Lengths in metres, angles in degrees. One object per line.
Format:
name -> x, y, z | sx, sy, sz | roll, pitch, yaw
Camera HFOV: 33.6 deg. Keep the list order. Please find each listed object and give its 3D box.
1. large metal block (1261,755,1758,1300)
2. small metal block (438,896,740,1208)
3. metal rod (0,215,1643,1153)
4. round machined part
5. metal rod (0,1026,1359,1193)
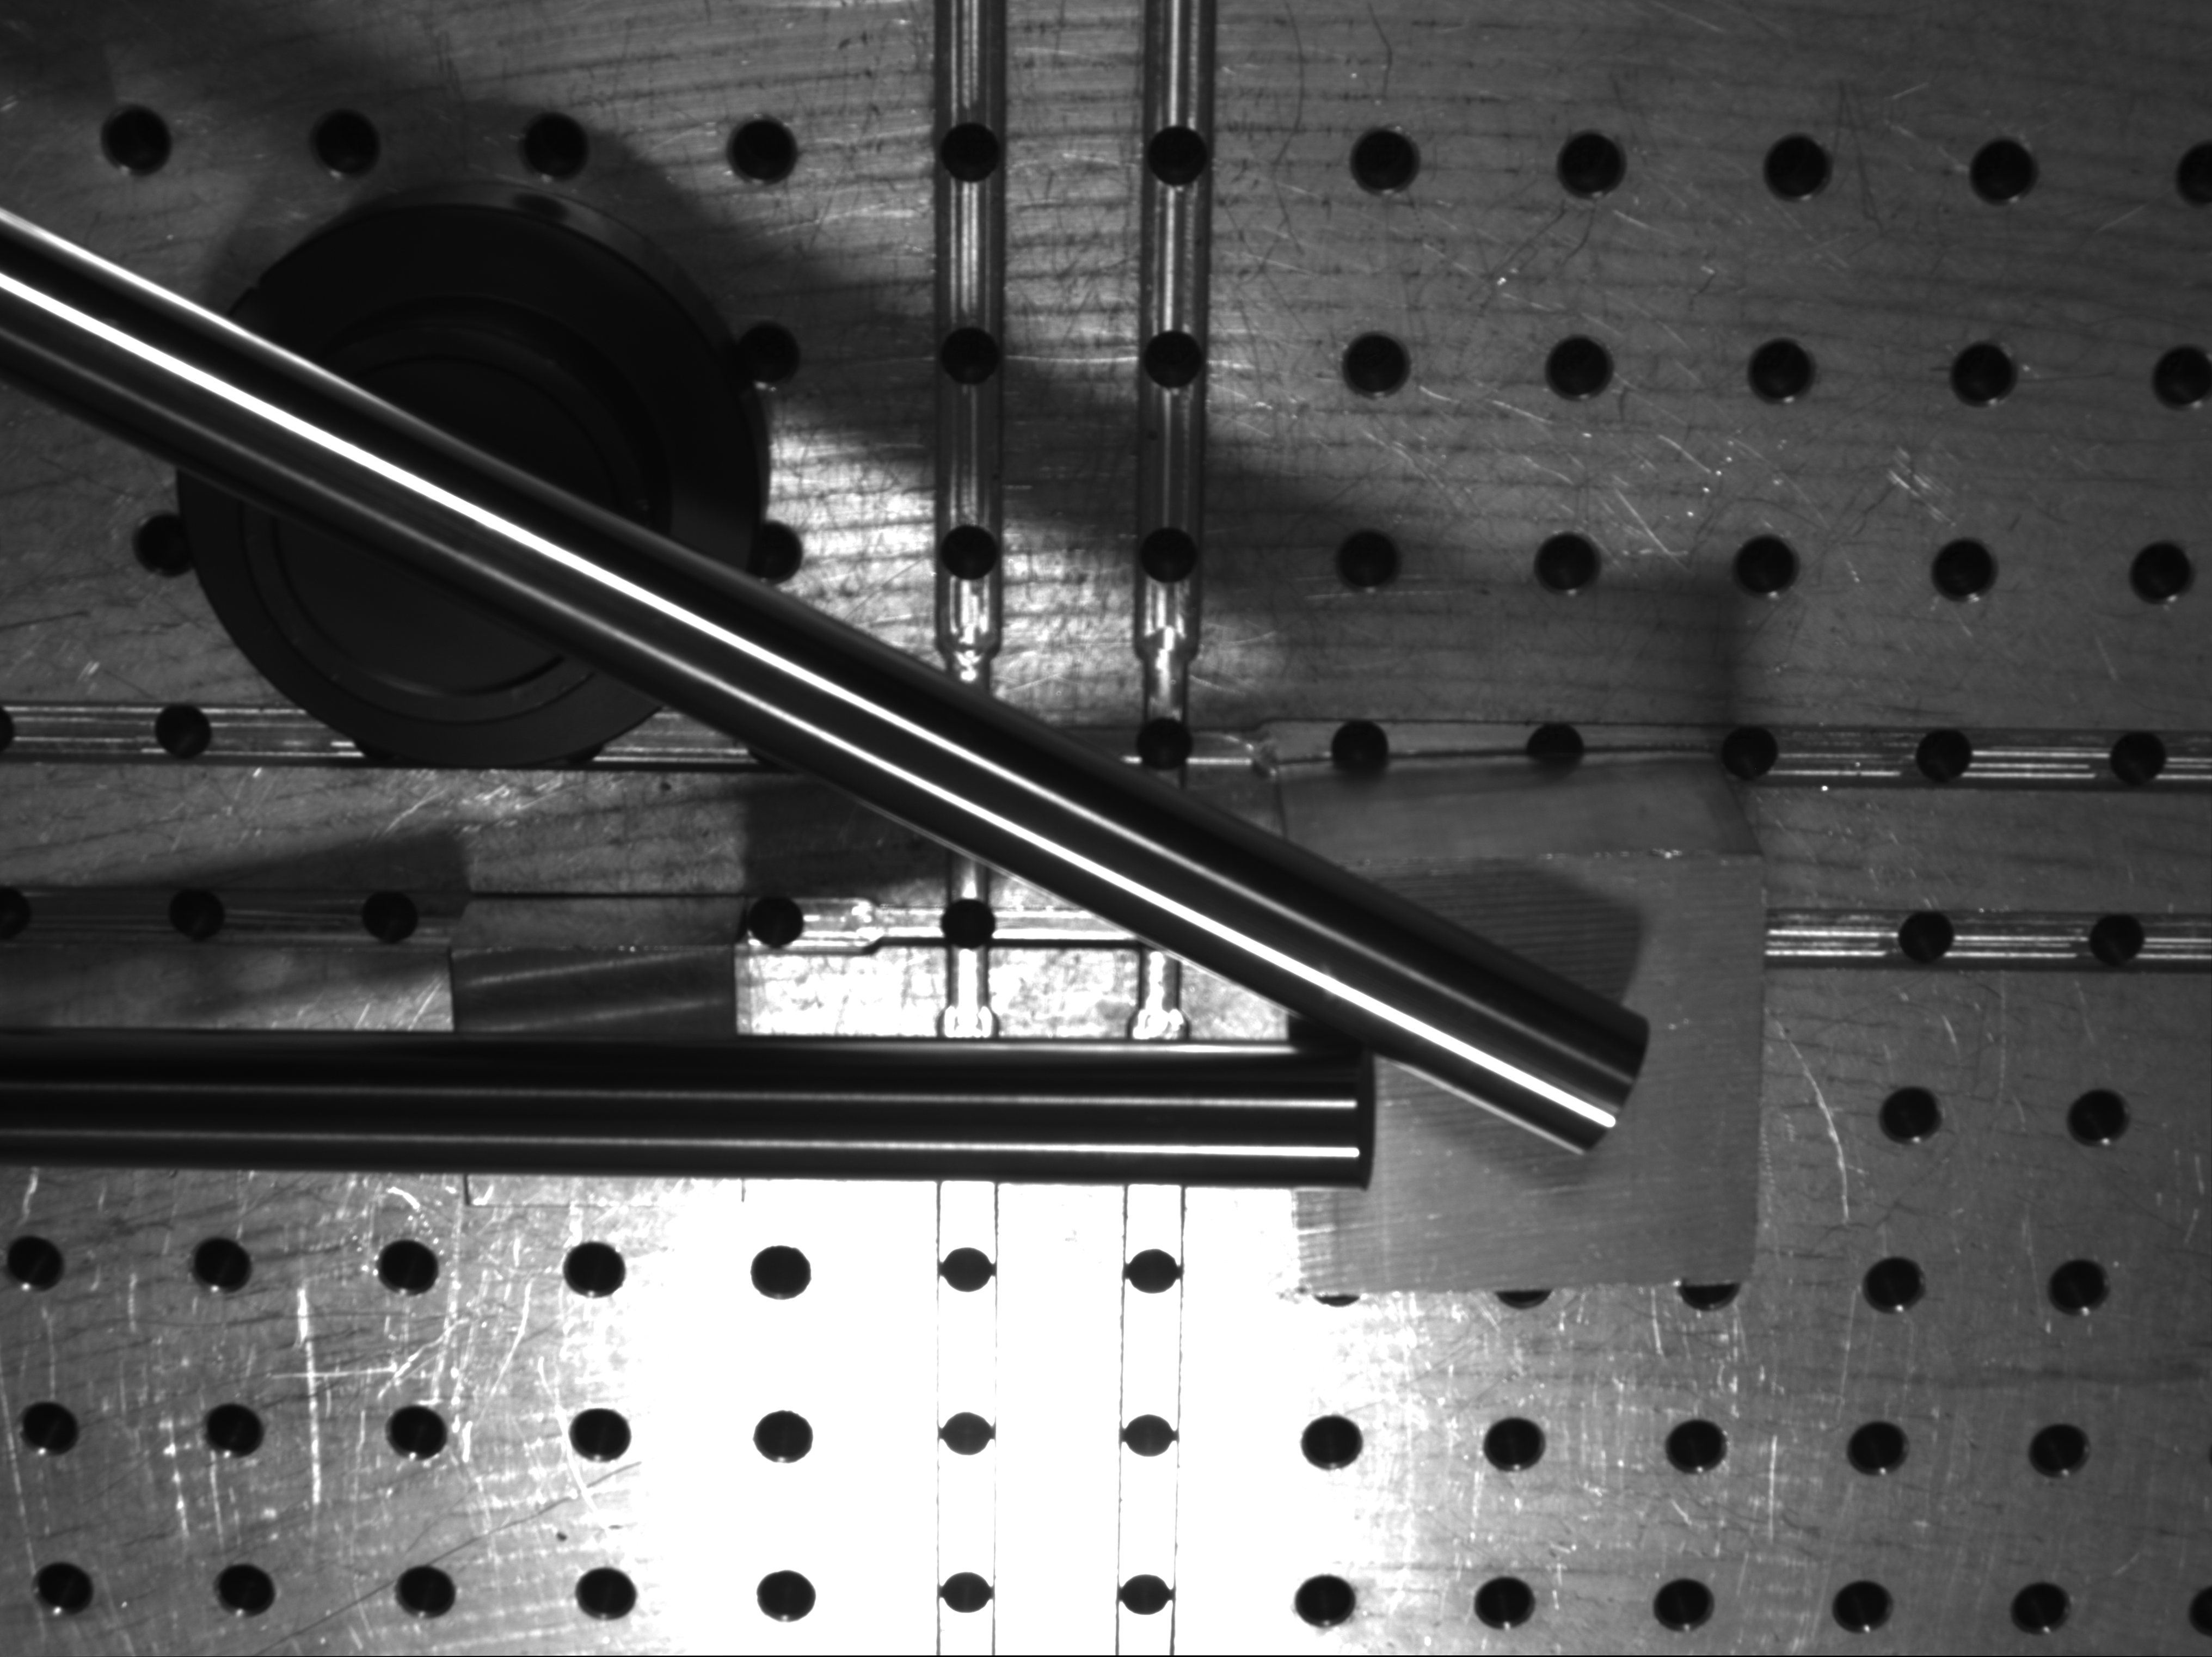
large metal block -> 0.069, 0.034, 0.643 | 0.080, 0.050, 0.080 | -2, 110, 0
small metal block -> -0.092, 0.040, 0.659 | 0.050, 0.025, 0.050 | 0, 110, -1
metal rod -> -0.052, -0.023, 0.585 | 0.300, 0.025, 0.025 | 26, 108, -7
round machined part -> -0.109, -0.056, 0.615 | 0.098, 0.042, 0.098 | 0, 110, -1
metal rod -> -0.106, 0.048, 0.632 | 0.300, 0.025, 0.025 | 0, 110, 10
